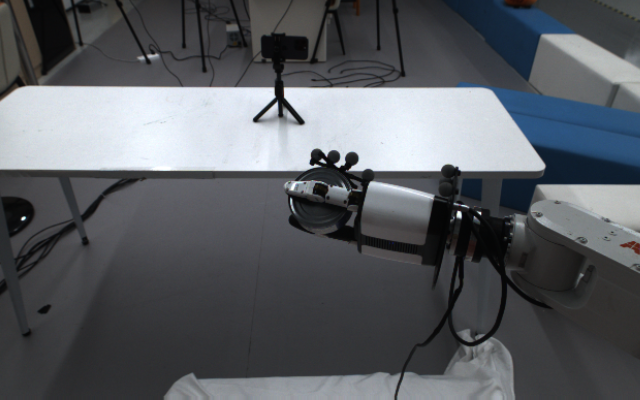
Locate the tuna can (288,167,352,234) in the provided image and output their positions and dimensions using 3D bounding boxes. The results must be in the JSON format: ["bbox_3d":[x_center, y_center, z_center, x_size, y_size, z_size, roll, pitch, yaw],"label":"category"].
[{"bbox_3d":[0.004,0.001,0.648,0.085,0.034,0.085,-4,67,10],"label":"tuna can"}]
